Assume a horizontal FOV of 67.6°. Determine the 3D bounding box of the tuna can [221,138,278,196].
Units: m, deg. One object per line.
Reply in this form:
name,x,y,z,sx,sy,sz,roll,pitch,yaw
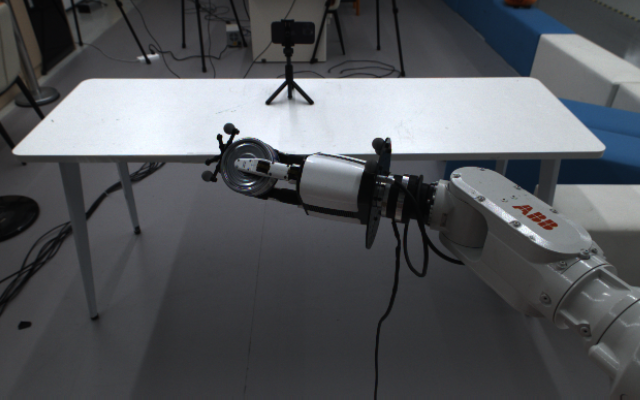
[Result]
tuna can,-0.103,-0.051,0.724,0.085,0.085,0.034,12,-3,14
